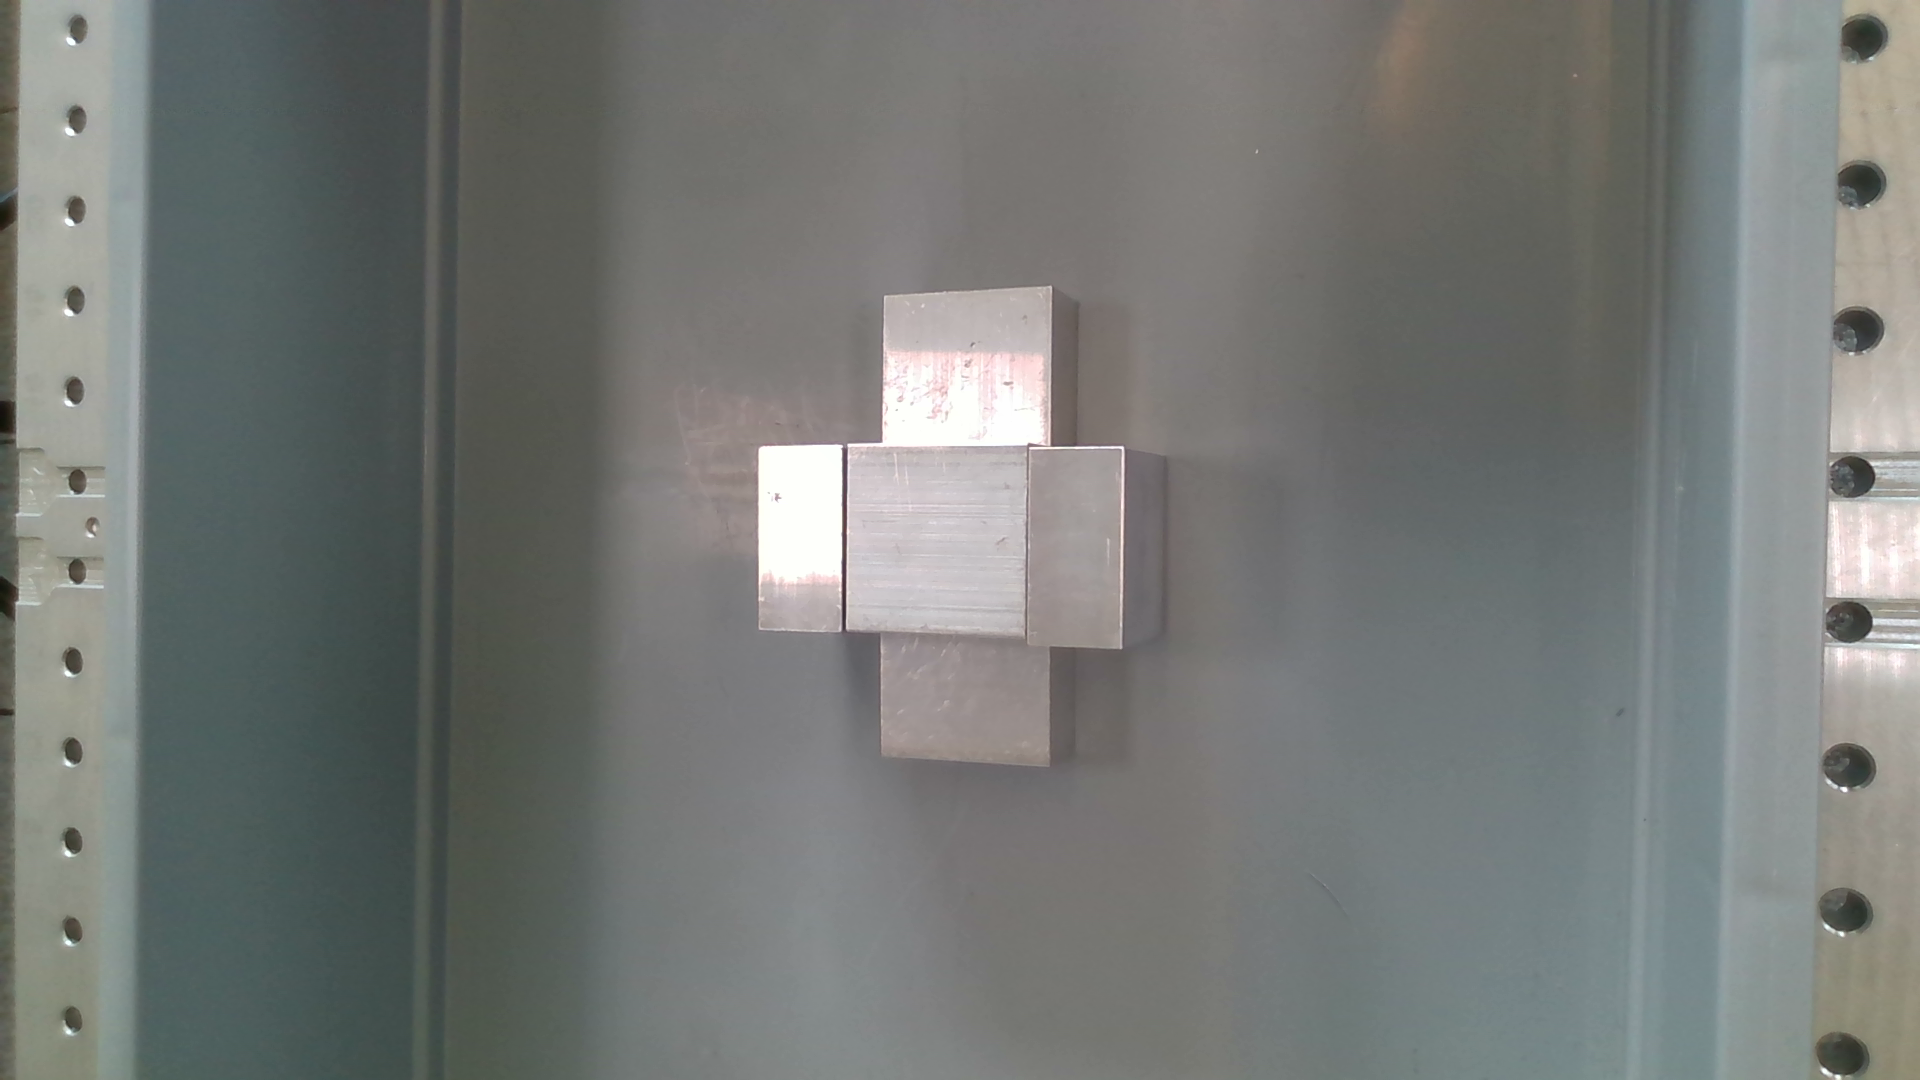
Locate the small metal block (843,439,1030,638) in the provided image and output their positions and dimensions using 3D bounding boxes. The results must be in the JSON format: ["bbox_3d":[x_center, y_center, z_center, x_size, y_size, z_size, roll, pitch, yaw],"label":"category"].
[{"bbox_3d":[-0.003,-0.001,0.366,0.050,0.025,0.050,1,91,20],"label":"small metal block"}]

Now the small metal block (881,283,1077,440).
[{"bbox_3d":[0.006,-0.044,0.390,0.050,0.025,0.050,1,91,20],"label":"small metal block"}]

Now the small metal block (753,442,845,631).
[{"bbox_3d":[-0.035,-0.001,0.391,0.025,0.050,0.050,1,91,20],"label":"small metal block"}]

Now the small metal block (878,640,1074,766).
[{"bbox_3d":[0.005,0.036,0.391,0.050,0.025,0.050,1,91,20],"label":"small metal block"}]

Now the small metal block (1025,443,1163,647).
[{"bbox_3d":[0.037,0.001,0.365,0.025,0.050,0.050,1,91,20],"label":"small metal block"}]
